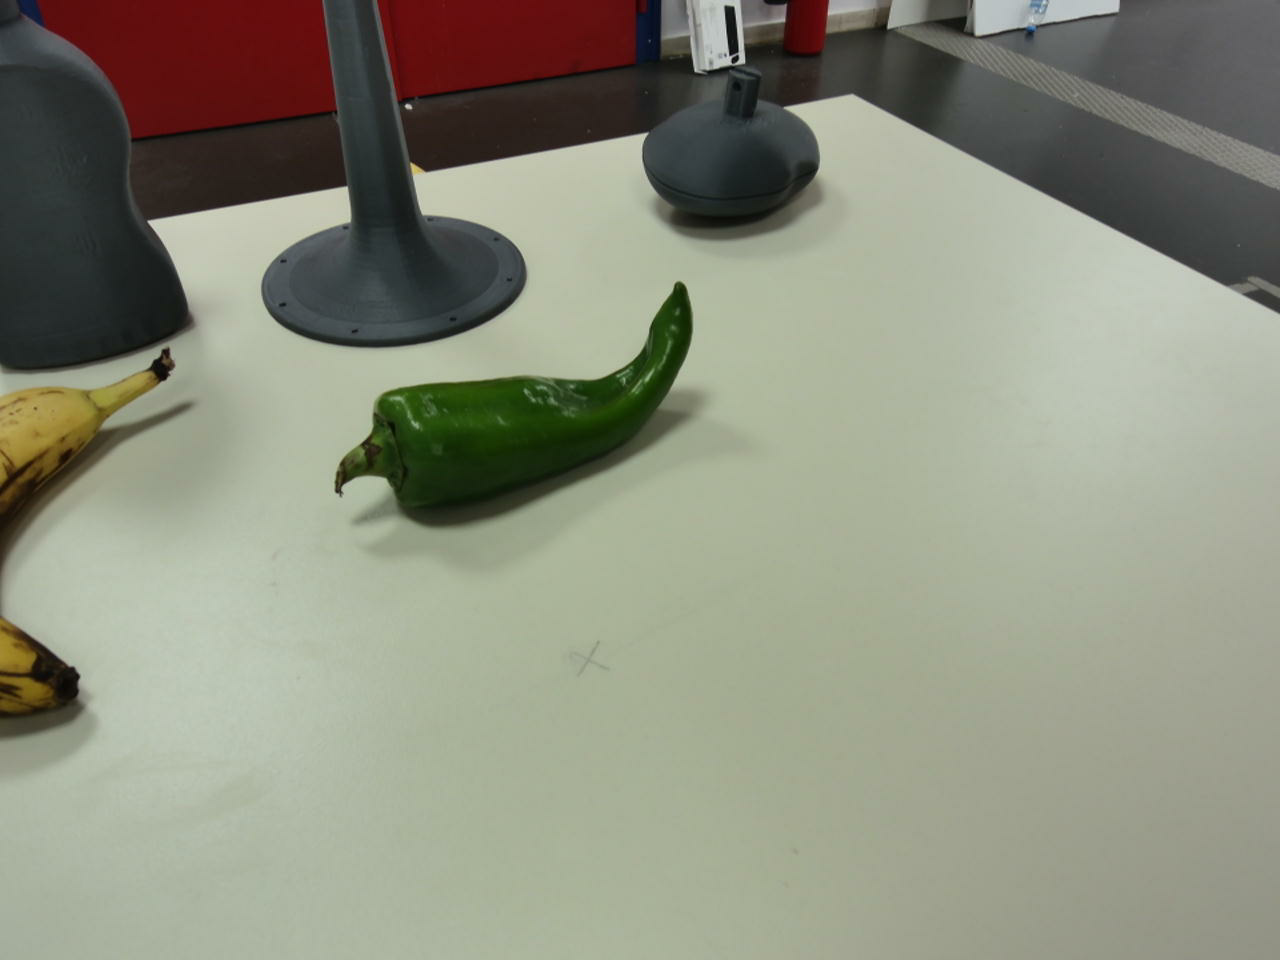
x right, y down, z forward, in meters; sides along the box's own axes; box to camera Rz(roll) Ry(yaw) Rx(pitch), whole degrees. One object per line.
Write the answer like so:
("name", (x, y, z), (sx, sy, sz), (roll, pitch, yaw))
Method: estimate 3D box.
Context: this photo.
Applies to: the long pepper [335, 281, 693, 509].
("long pepper", (-0.048, -0.034, 0.432), (0.175, 0.065, 0.058), (-18, 42, -23))
